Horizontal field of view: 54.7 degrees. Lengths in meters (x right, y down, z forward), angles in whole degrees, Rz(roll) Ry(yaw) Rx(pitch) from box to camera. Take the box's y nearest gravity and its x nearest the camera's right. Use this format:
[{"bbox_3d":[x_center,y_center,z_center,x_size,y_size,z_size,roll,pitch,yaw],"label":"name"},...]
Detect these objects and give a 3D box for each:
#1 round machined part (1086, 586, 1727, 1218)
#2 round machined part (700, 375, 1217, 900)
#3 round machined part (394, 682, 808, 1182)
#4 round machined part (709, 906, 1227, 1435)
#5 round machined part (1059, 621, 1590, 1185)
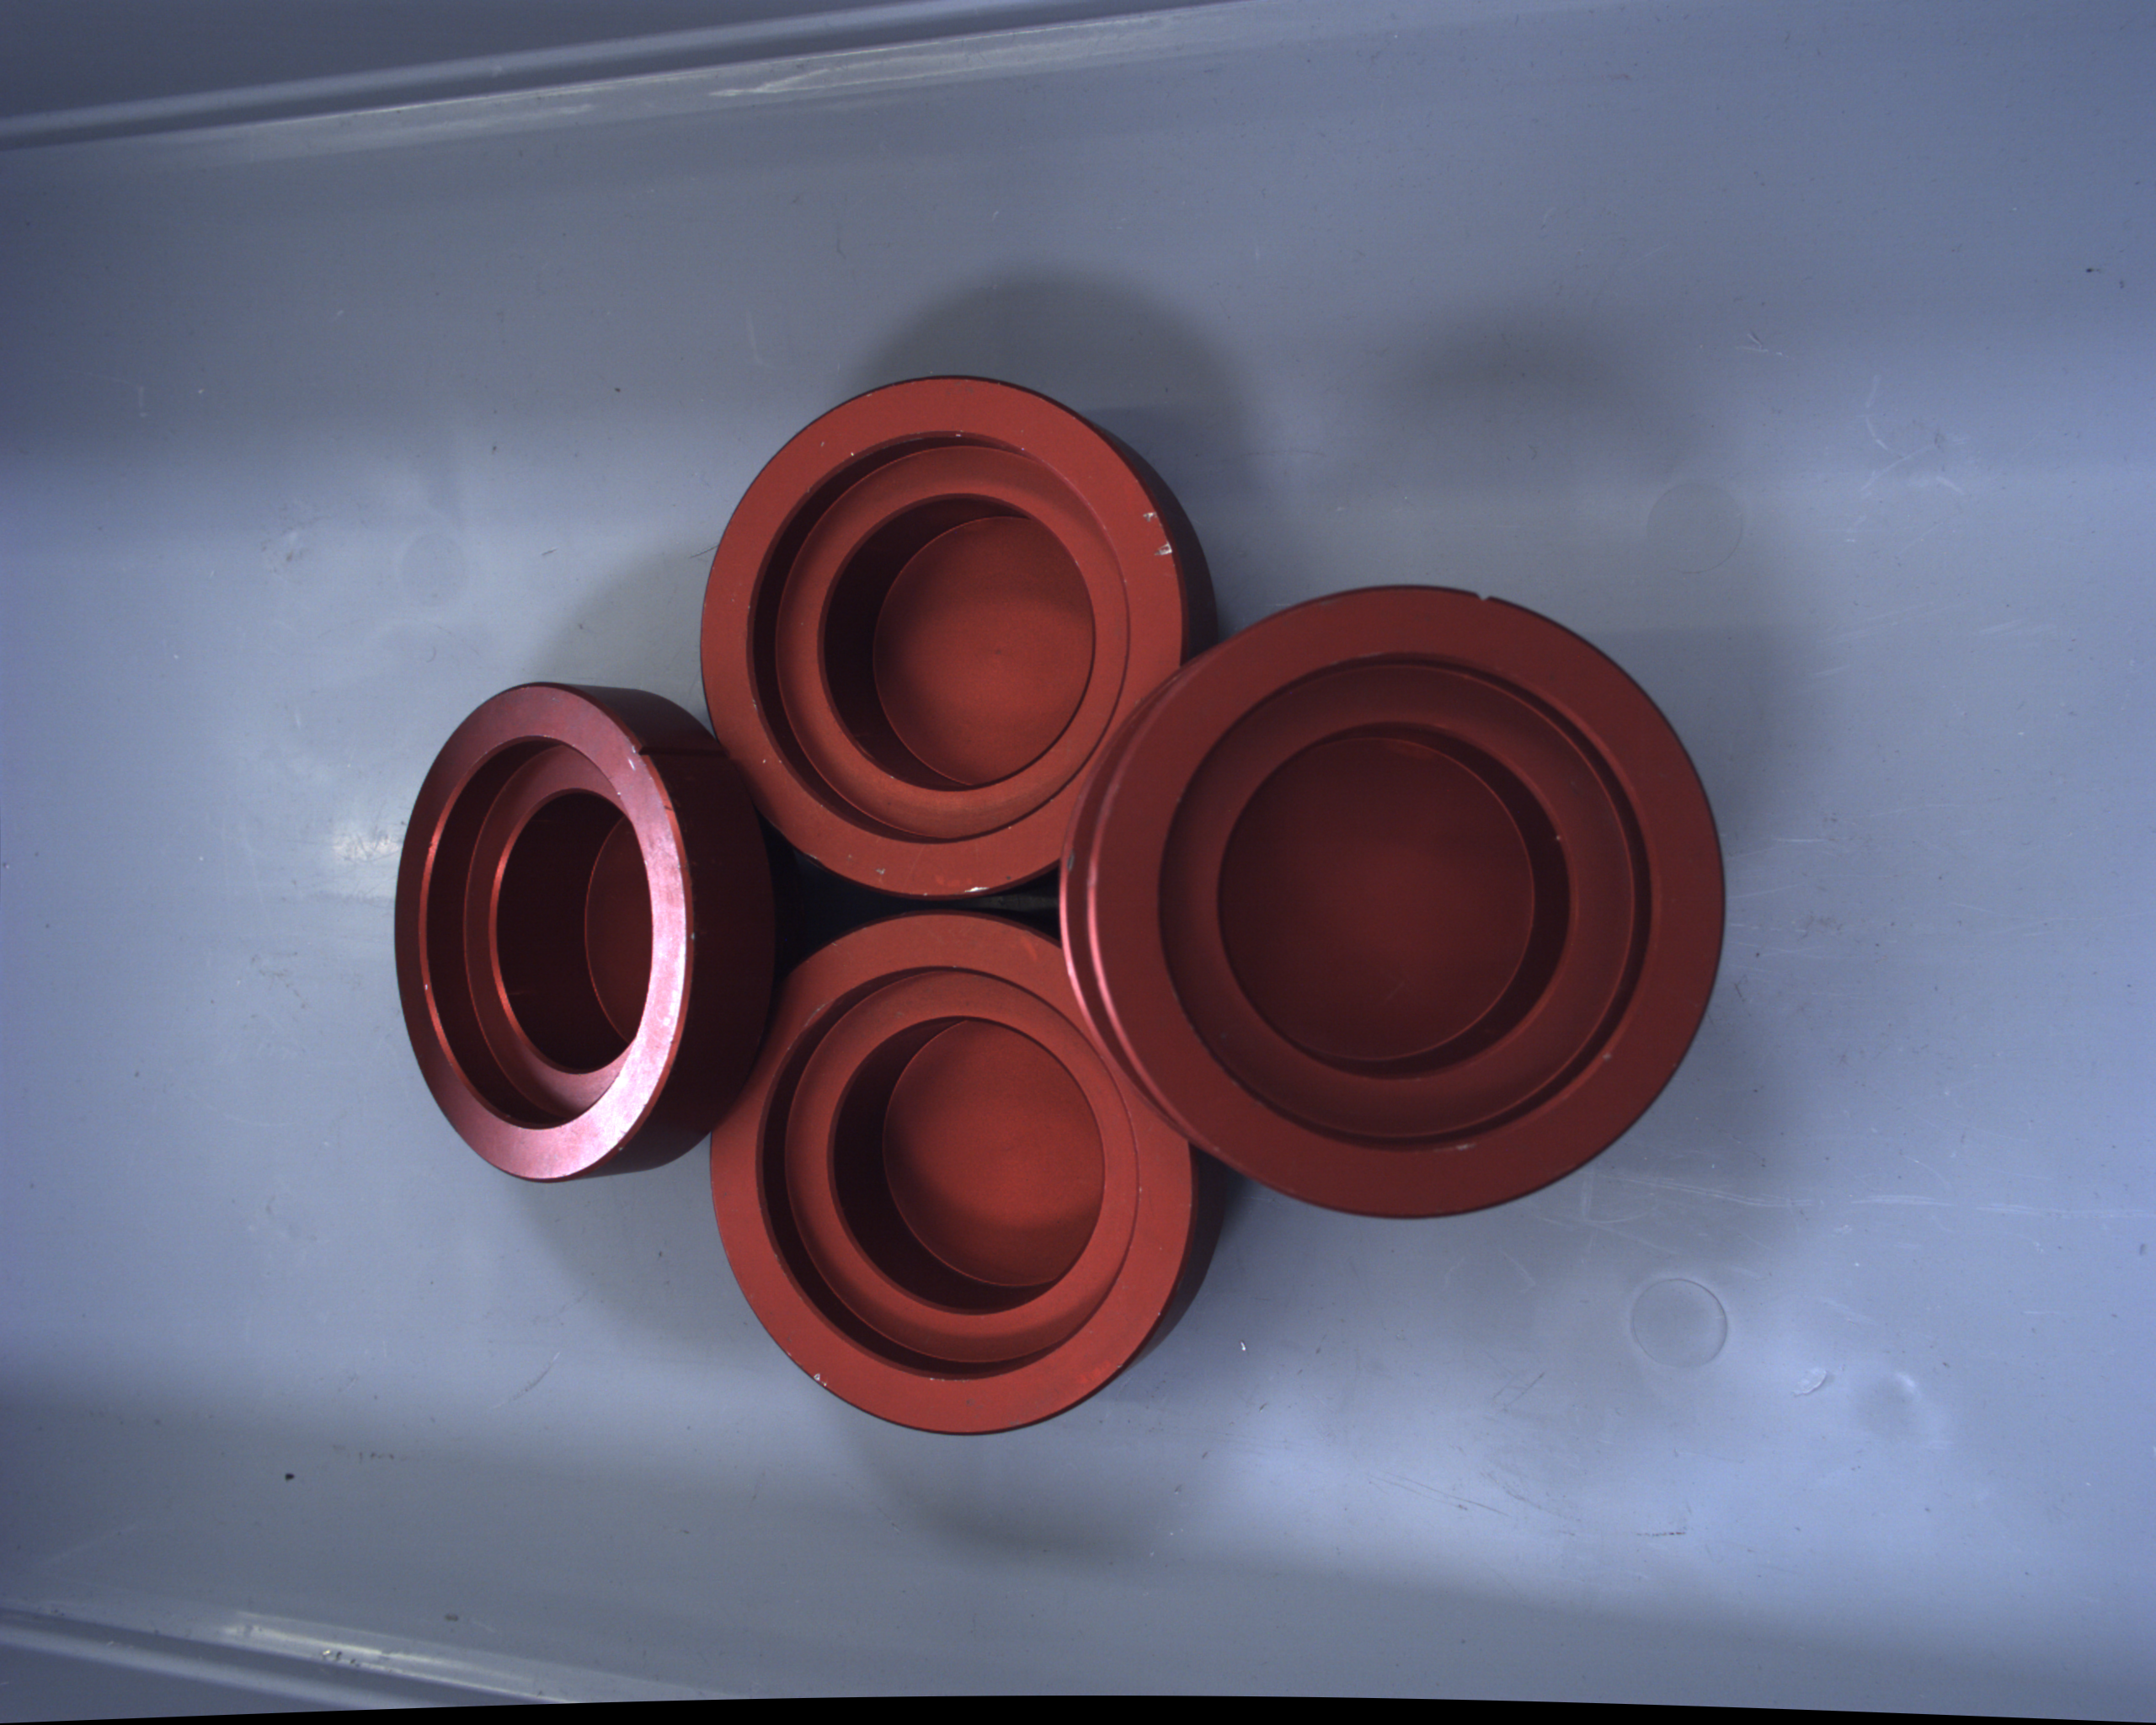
[{"bbox_3d":[0.050,0.006,0.341,0.099,0.042,0.097,0,90,-2],"label":"round machined part"},{"bbox_3d":[-0.020,-0.042,0.406,0.098,0.042,0.097,0,90,20],"label":"round machined part"},{"bbox_3d":[-0.093,0.013,0.422,0.098,0.042,0.097,0,89,40],"label":"round machined part"},{"bbox_3d":[-0.018,0.057,0.405,0.098,0.042,0.097,0,90,20],"label":"round machined part"},{"bbox_3d":[0.046,0.006,0.372,0.099,0.042,0.097,0,89,-3],"label":"round machined part"}]
